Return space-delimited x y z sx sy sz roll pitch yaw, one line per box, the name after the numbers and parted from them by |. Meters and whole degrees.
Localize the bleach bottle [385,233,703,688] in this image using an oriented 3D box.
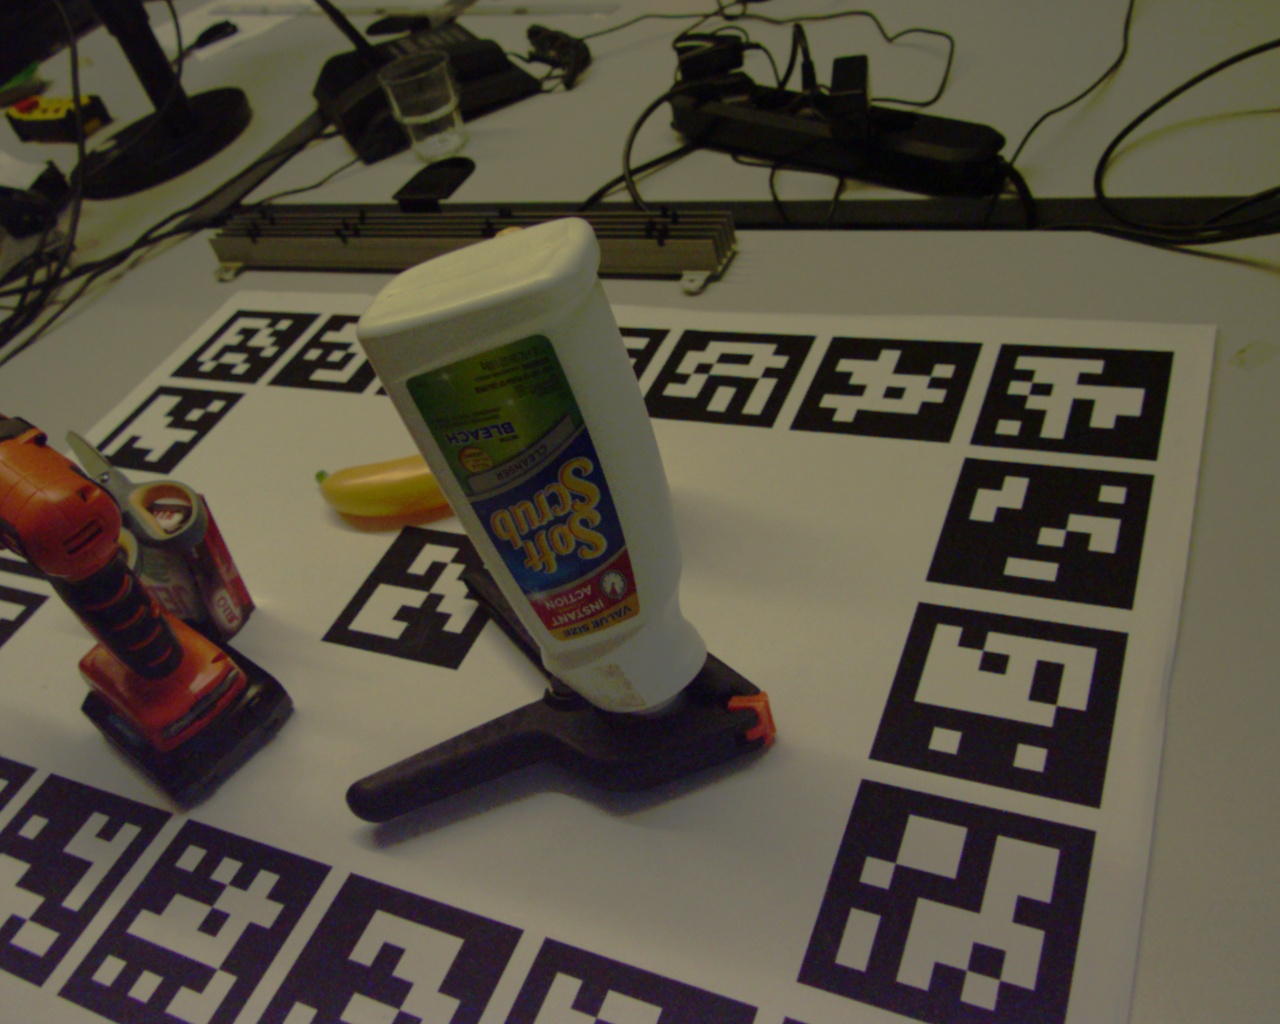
-0.022 0.000 0.541 0.103 0.248 0.068 -12 37 17 | bleach bottle

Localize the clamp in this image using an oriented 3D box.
-0.036 0.082 0.615 0.205 0.036 0.165 2 47 20 | clamp

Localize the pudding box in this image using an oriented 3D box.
-0.316 0.027 0.759 0.115 0.089 0.038 11 41 28 | pudding box

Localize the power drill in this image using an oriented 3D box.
-0.311 0.036 0.631 0.187 0.186 0.057 16 44 37 | power drill

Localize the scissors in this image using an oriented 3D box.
-0.336 -0.025 0.725 0.087 0.016 0.205 -42 51 -19 | scissors

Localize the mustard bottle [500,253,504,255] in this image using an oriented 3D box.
-0.056 -0.074 0.706 0.097 0.190 0.058 20 53 34 | mustard bottle

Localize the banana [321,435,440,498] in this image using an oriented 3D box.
-0.134 -0.049 0.805 0.197 0.038 0.075 -21 24 -3 | banana
